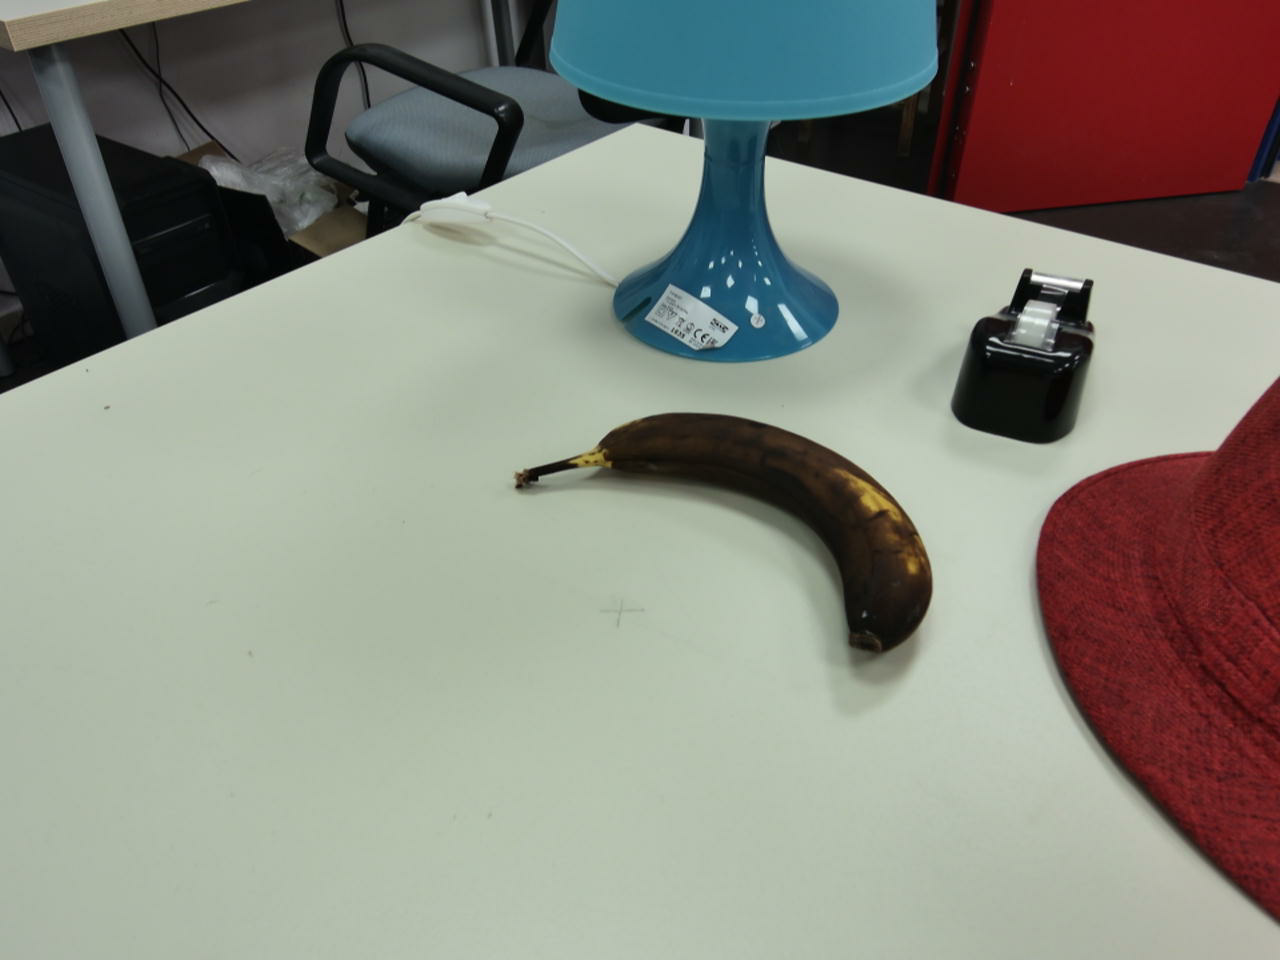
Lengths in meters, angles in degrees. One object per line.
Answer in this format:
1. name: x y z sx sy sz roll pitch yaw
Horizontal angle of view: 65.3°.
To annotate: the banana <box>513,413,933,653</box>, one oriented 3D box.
1. banana: 0.043 0.005 0.423 0.188 0.034 0.091 26 44 32
